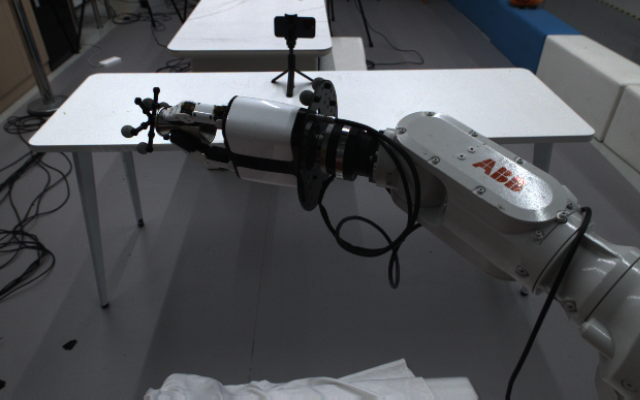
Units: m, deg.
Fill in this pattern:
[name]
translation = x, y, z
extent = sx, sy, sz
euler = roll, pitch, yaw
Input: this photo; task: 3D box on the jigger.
[jigger]
translation = -0.176, -0.104, 0.639
extent = 0.071, 0.043, 0.043
euler = 10, 35, 15
